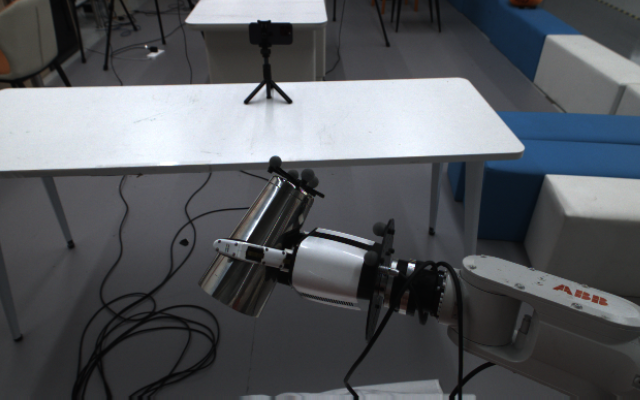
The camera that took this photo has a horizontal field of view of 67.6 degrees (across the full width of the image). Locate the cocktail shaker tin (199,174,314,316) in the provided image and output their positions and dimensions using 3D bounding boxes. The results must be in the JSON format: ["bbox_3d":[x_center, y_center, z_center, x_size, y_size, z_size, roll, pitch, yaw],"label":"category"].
[{"bbox_3d":[-0.078,0.054,0.643,0.093,0.093,0.170,27,84,31],"label":"cocktail shaker tin"}]
